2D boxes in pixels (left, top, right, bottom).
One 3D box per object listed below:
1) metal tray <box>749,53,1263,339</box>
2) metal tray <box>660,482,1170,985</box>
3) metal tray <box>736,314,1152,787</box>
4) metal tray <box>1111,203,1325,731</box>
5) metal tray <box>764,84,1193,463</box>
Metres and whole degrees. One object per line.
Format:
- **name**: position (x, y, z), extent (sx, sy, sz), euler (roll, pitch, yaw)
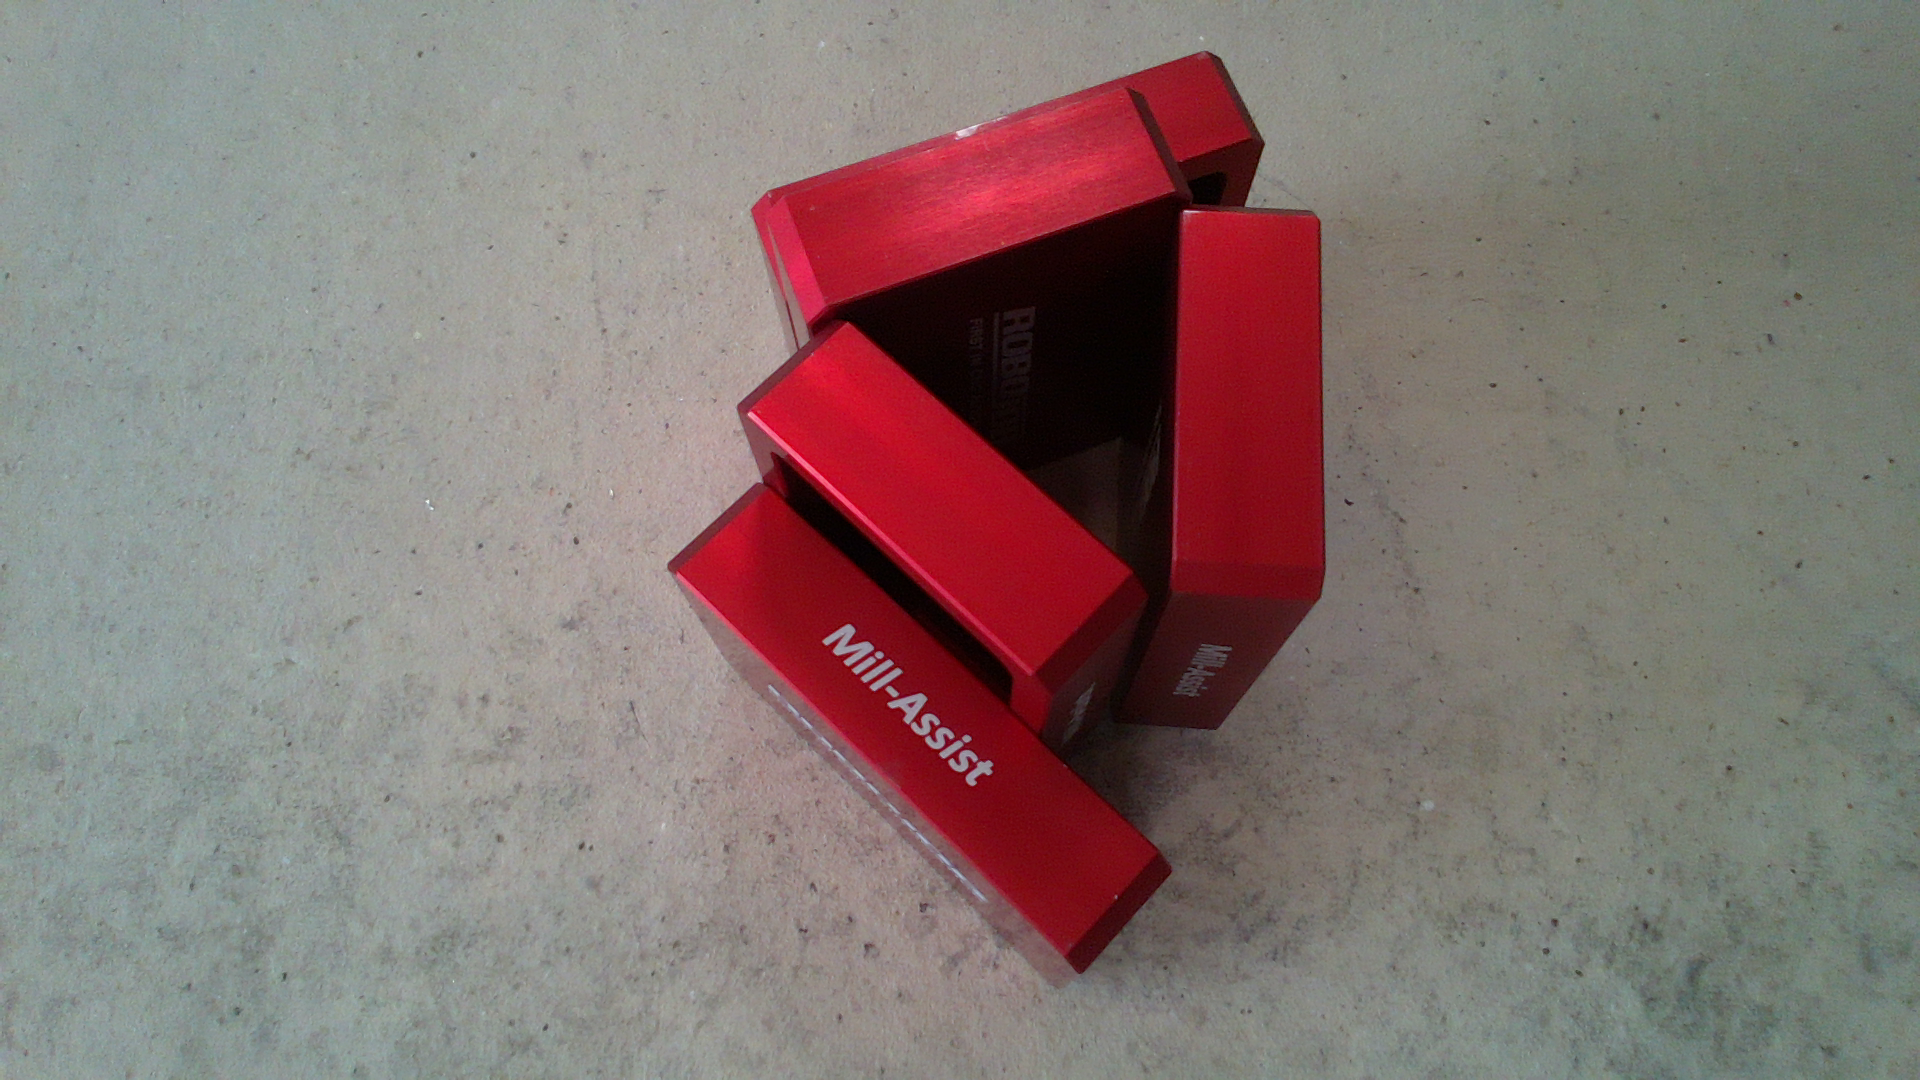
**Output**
- **metal tray**: position (0.012, -0.080, 0.389), extent (0.130, 0.090, 0.030), euler (-19, 71, -7)
- **metal tray**: position (-0.012, 0.052, 0.340), extent (0.130, 0.090, 0.030), euler (42, 76, 14)
- **metal tray**: position (-0.004, 0.011, 0.334), extent (0.090, 0.130, 0.030), euler (42, 75, 14)
- **metal tray**: position (0.060, -0.010, 0.342), extent (0.030, 0.130, 0.090), euler (4, 70, 2)
- **metal tray**: position (0.005, -0.054, 0.358), extent (0.090, 0.130, 0.030), euler (-19, 71, -7)
